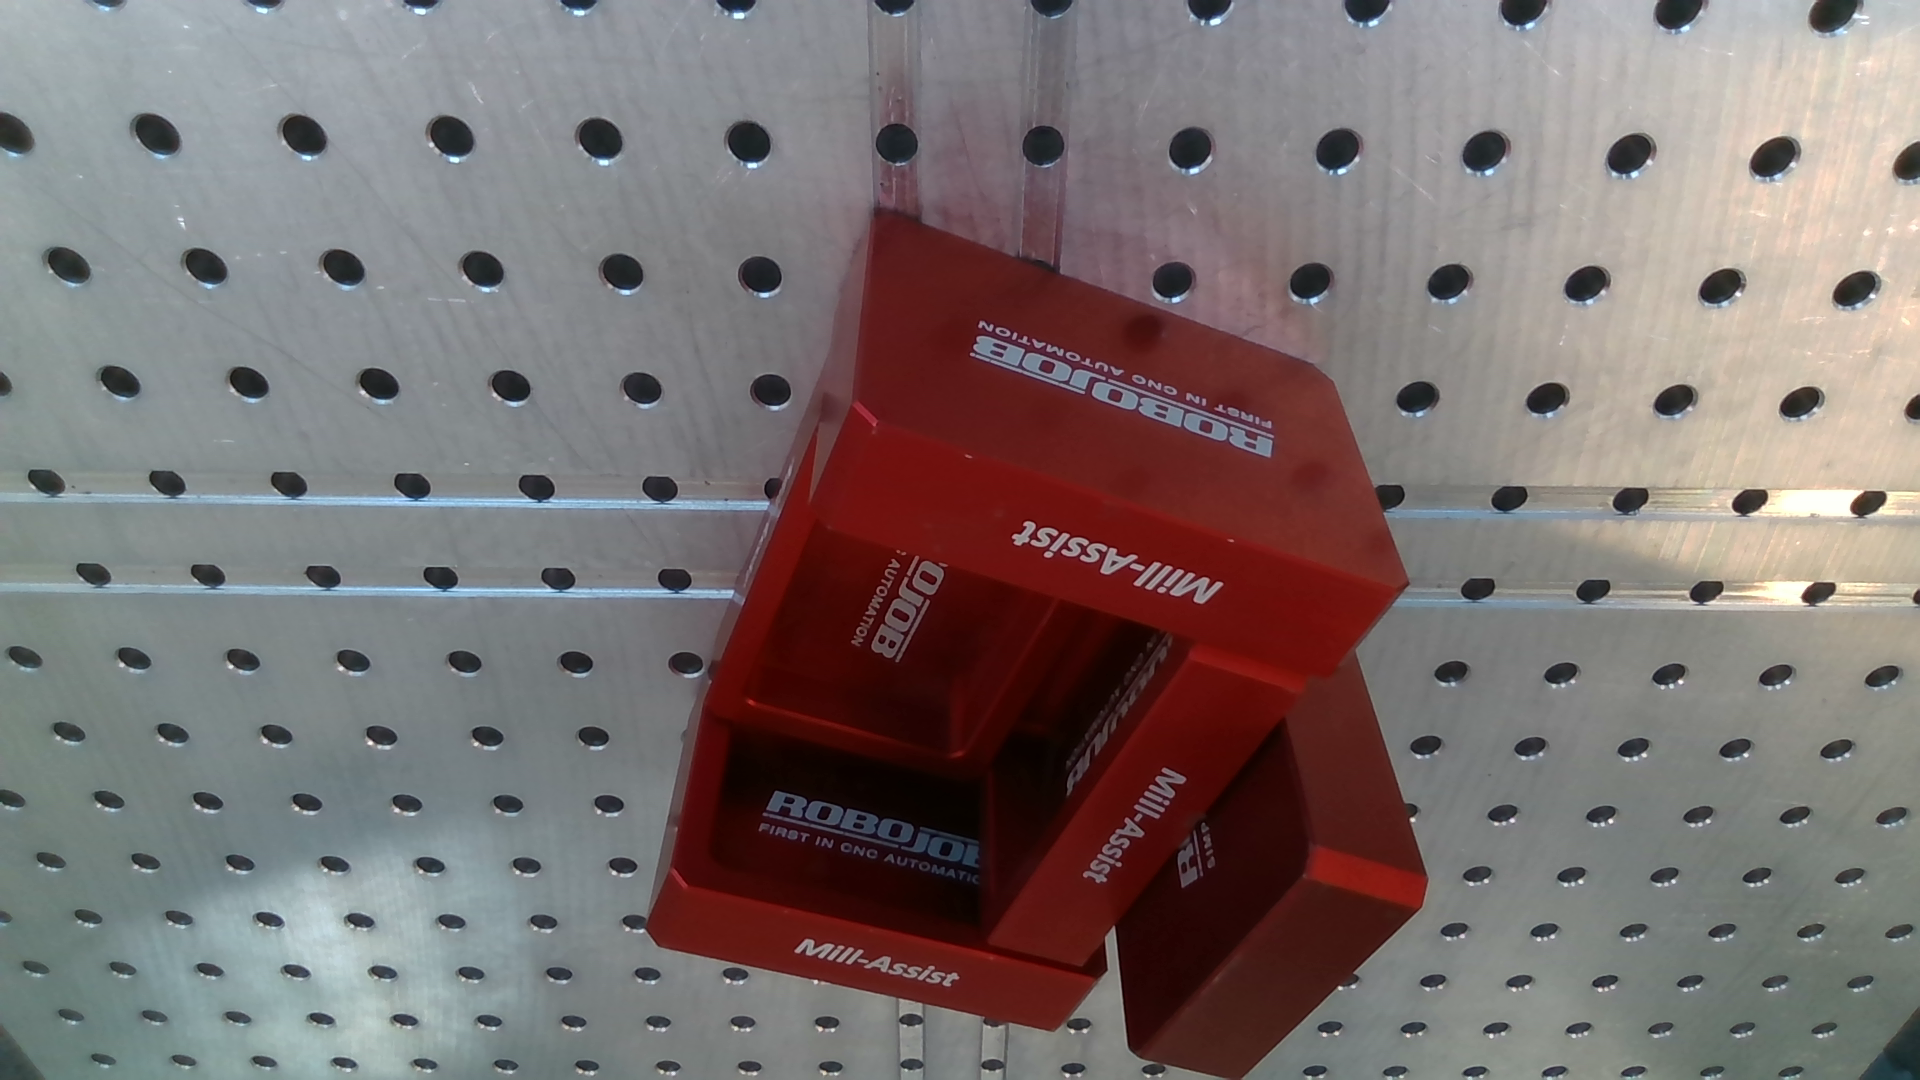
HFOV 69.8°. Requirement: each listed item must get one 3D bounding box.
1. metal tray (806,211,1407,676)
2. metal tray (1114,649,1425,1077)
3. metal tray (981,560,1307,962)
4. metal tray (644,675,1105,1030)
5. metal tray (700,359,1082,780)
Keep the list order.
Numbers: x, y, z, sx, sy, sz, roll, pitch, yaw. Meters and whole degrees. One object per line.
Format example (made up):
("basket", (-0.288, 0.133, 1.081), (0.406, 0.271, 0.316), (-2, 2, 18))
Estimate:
("metal tray", (0.033, -0.025, 0.327), (0.130, 0.090, 0.030), (17, 128, -14))
("metal tray", (0.074, 0.064, 0.376), (0.030, 0.130, 0.090), (18, 128, -14))
("metal tray", (0.044, 0.045, 0.386), (0.030, 0.090, 0.130), (17, 128, -14))
("metal tray", (-0.023, 0.091, 0.425), (0.130, 0.090, 0.030), (17, 128, -14))
("metal tray", (-0.013, 0.009, 0.394), (0.090, 0.030, 0.130), (17, 128, -14))
